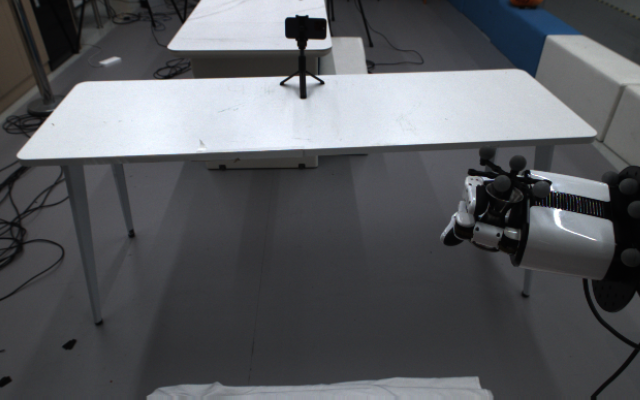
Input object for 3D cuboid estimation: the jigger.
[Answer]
[{"bbox_3d":[0.198,0.019,0.550,0.043,0.071,0.043,7,32,-4],"label":"jigger"}]
